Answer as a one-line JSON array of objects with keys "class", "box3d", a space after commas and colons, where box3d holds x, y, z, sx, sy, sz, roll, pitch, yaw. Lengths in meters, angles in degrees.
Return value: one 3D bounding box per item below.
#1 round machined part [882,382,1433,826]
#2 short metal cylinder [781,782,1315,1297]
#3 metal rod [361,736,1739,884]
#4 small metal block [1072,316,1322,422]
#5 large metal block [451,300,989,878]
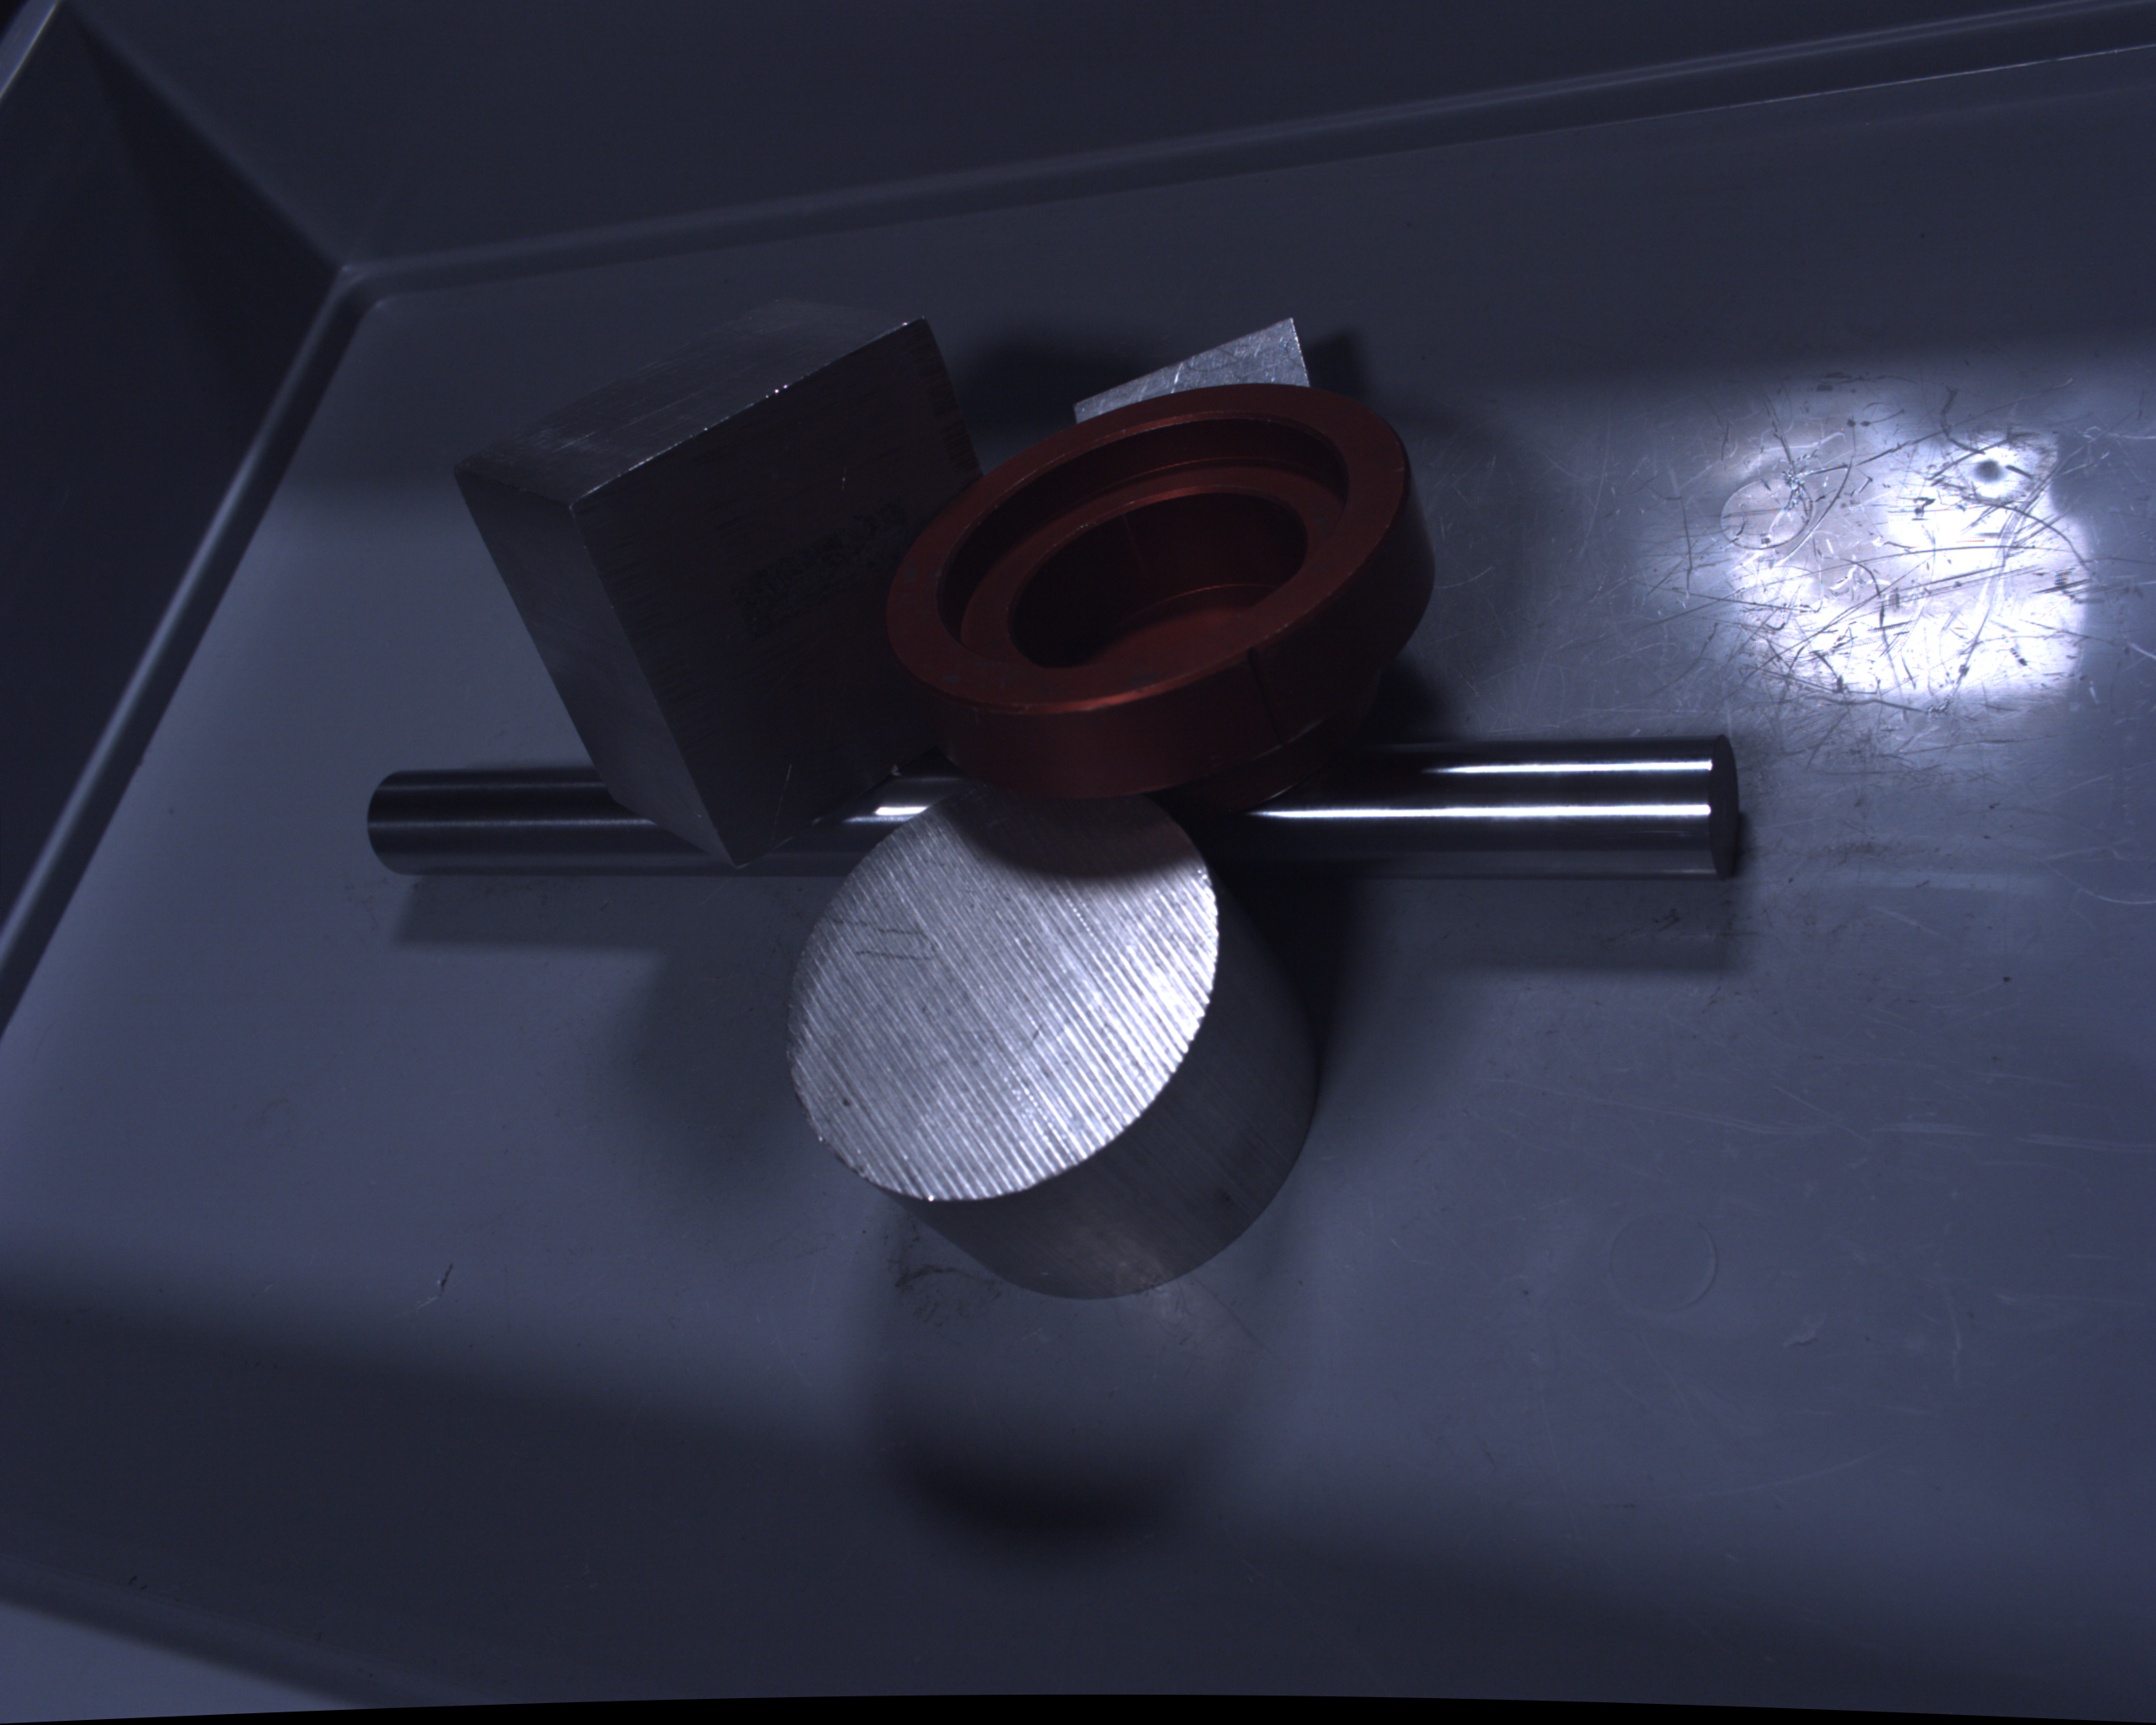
[{"class": "round machined part", "box3d": [0.017, -0.044, 0.385, 0.098, 0.042, 0.098, -15, 39, 12]}, {"class": "short metal cylinder", "box3d": [-0.004, 0.030, 0.369, 0.080, 0.050, 0.080, -13, 56, 20]}, {"class": "metal rod", "box3d": [-0.025, -0.009, 0.419, 0.300, 0.025, 0.025, 0, 62, 27]}, {"class": "small metal block", "box3d": [0.029, -0.080, 0.437, 0.050, 0.025, 0.050, -19, 54, 16]}, {"class": "large metal block", "box3d": [-0.063, -0.057, 0.416, 0.080, 0.080, 0.050, -36, 36, -25]}]
